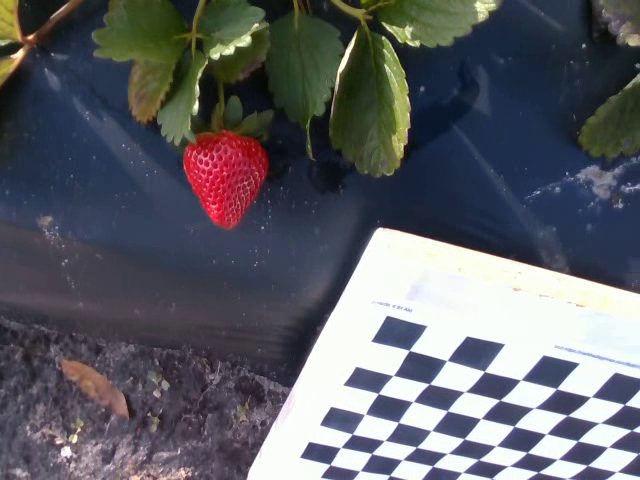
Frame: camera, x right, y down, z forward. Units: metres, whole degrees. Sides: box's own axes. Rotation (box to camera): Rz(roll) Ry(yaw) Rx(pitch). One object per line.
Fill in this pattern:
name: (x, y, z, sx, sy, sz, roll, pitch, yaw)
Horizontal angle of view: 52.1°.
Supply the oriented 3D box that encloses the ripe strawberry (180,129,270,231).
ripe strawberry: (-0.037, -0.022, 0.258, 0.041, 0.047, 0.041, 0, -12, 18)
